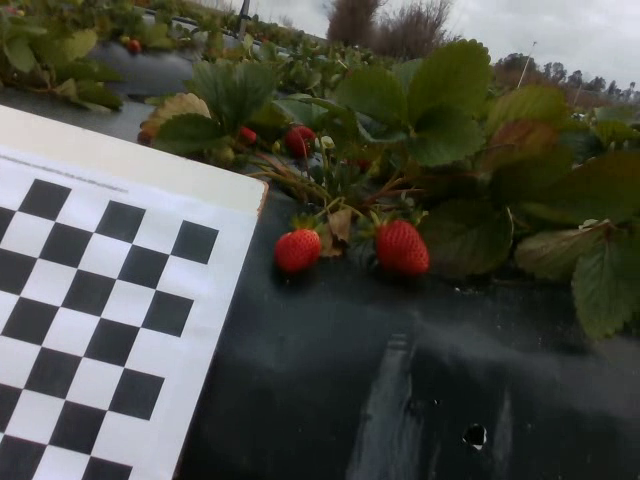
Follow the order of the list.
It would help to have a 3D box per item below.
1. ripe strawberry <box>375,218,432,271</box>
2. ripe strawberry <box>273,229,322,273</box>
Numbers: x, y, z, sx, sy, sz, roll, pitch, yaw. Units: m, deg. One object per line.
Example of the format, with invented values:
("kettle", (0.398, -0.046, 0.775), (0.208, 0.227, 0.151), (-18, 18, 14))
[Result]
("ripe strawberry", (0.061, 0.006, 0.435), (0.044, 0.059, 0.042), (-34, -36, -8))
("ripe strawberry", (-0.016, 0.005, 0.409), (0.036, 0.041, 0.028), (11, -41, 6))
